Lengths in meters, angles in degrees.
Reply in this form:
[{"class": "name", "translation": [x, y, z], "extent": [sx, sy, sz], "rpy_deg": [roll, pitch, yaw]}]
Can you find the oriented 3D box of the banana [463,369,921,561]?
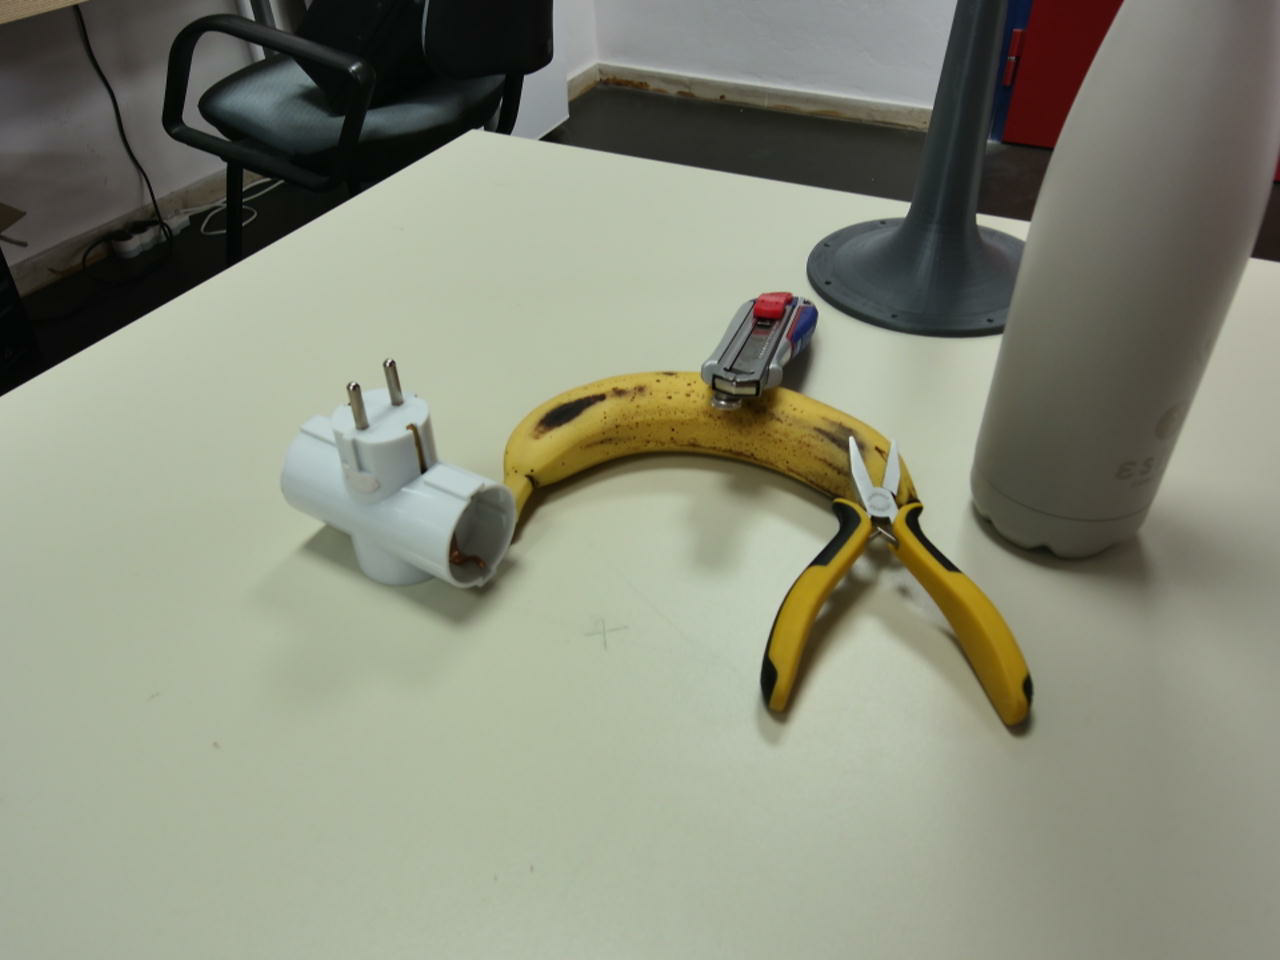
[{"class": "banana", "translation": [0.023, -0.014, 0.447], "extent": [0.186, 0.038, 0.097], "rpy_deg": [-1, 37, 0]}]
